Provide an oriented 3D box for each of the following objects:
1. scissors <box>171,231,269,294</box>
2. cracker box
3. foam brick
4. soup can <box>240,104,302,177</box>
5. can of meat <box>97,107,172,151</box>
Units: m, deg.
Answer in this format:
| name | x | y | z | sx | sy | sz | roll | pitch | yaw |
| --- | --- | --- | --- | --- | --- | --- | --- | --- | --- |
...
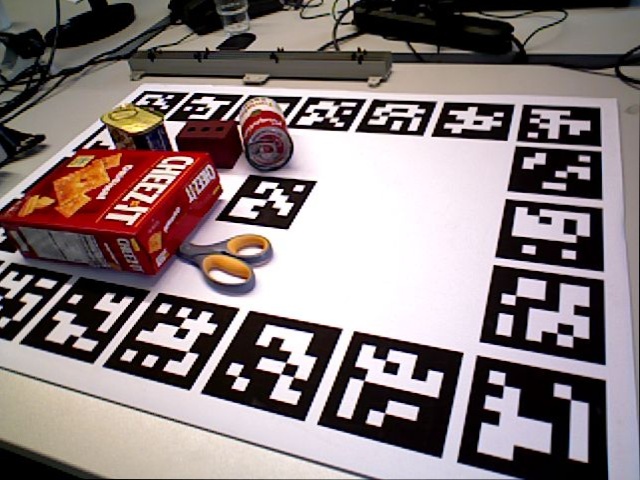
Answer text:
| name | x | y | z | sx | sy | sz | roll | pitch | yaw |
| --- | --- | --- | --- | --- | --- | --- | --- | --- | --- |
| scissors | -0.154 | 0.020 | 0.617 | 0.203 | 0.016 | 0.086 | 3 | 45 | 18 |
| cracker box | -0.255 | -0.040 | 0.660 | 0.215 | 0.073 | 0.160 | 0 | 43 | 20 |
| foam brick | -0.155 | -0.132 | 0.772 | 0.078 | 0.052 | 0.051 | 0 | 44 | 13 |
| soup can | -0.070 | -0.141 | 0.759 | 0.067 | 0.069 | 0.101 | -19 | 37 | -7 |
| can of meat | -0.257 | -0.135 | 0.772 | 0.102 | 0.085 | 0.056 | 19 | 51 | 29 |
